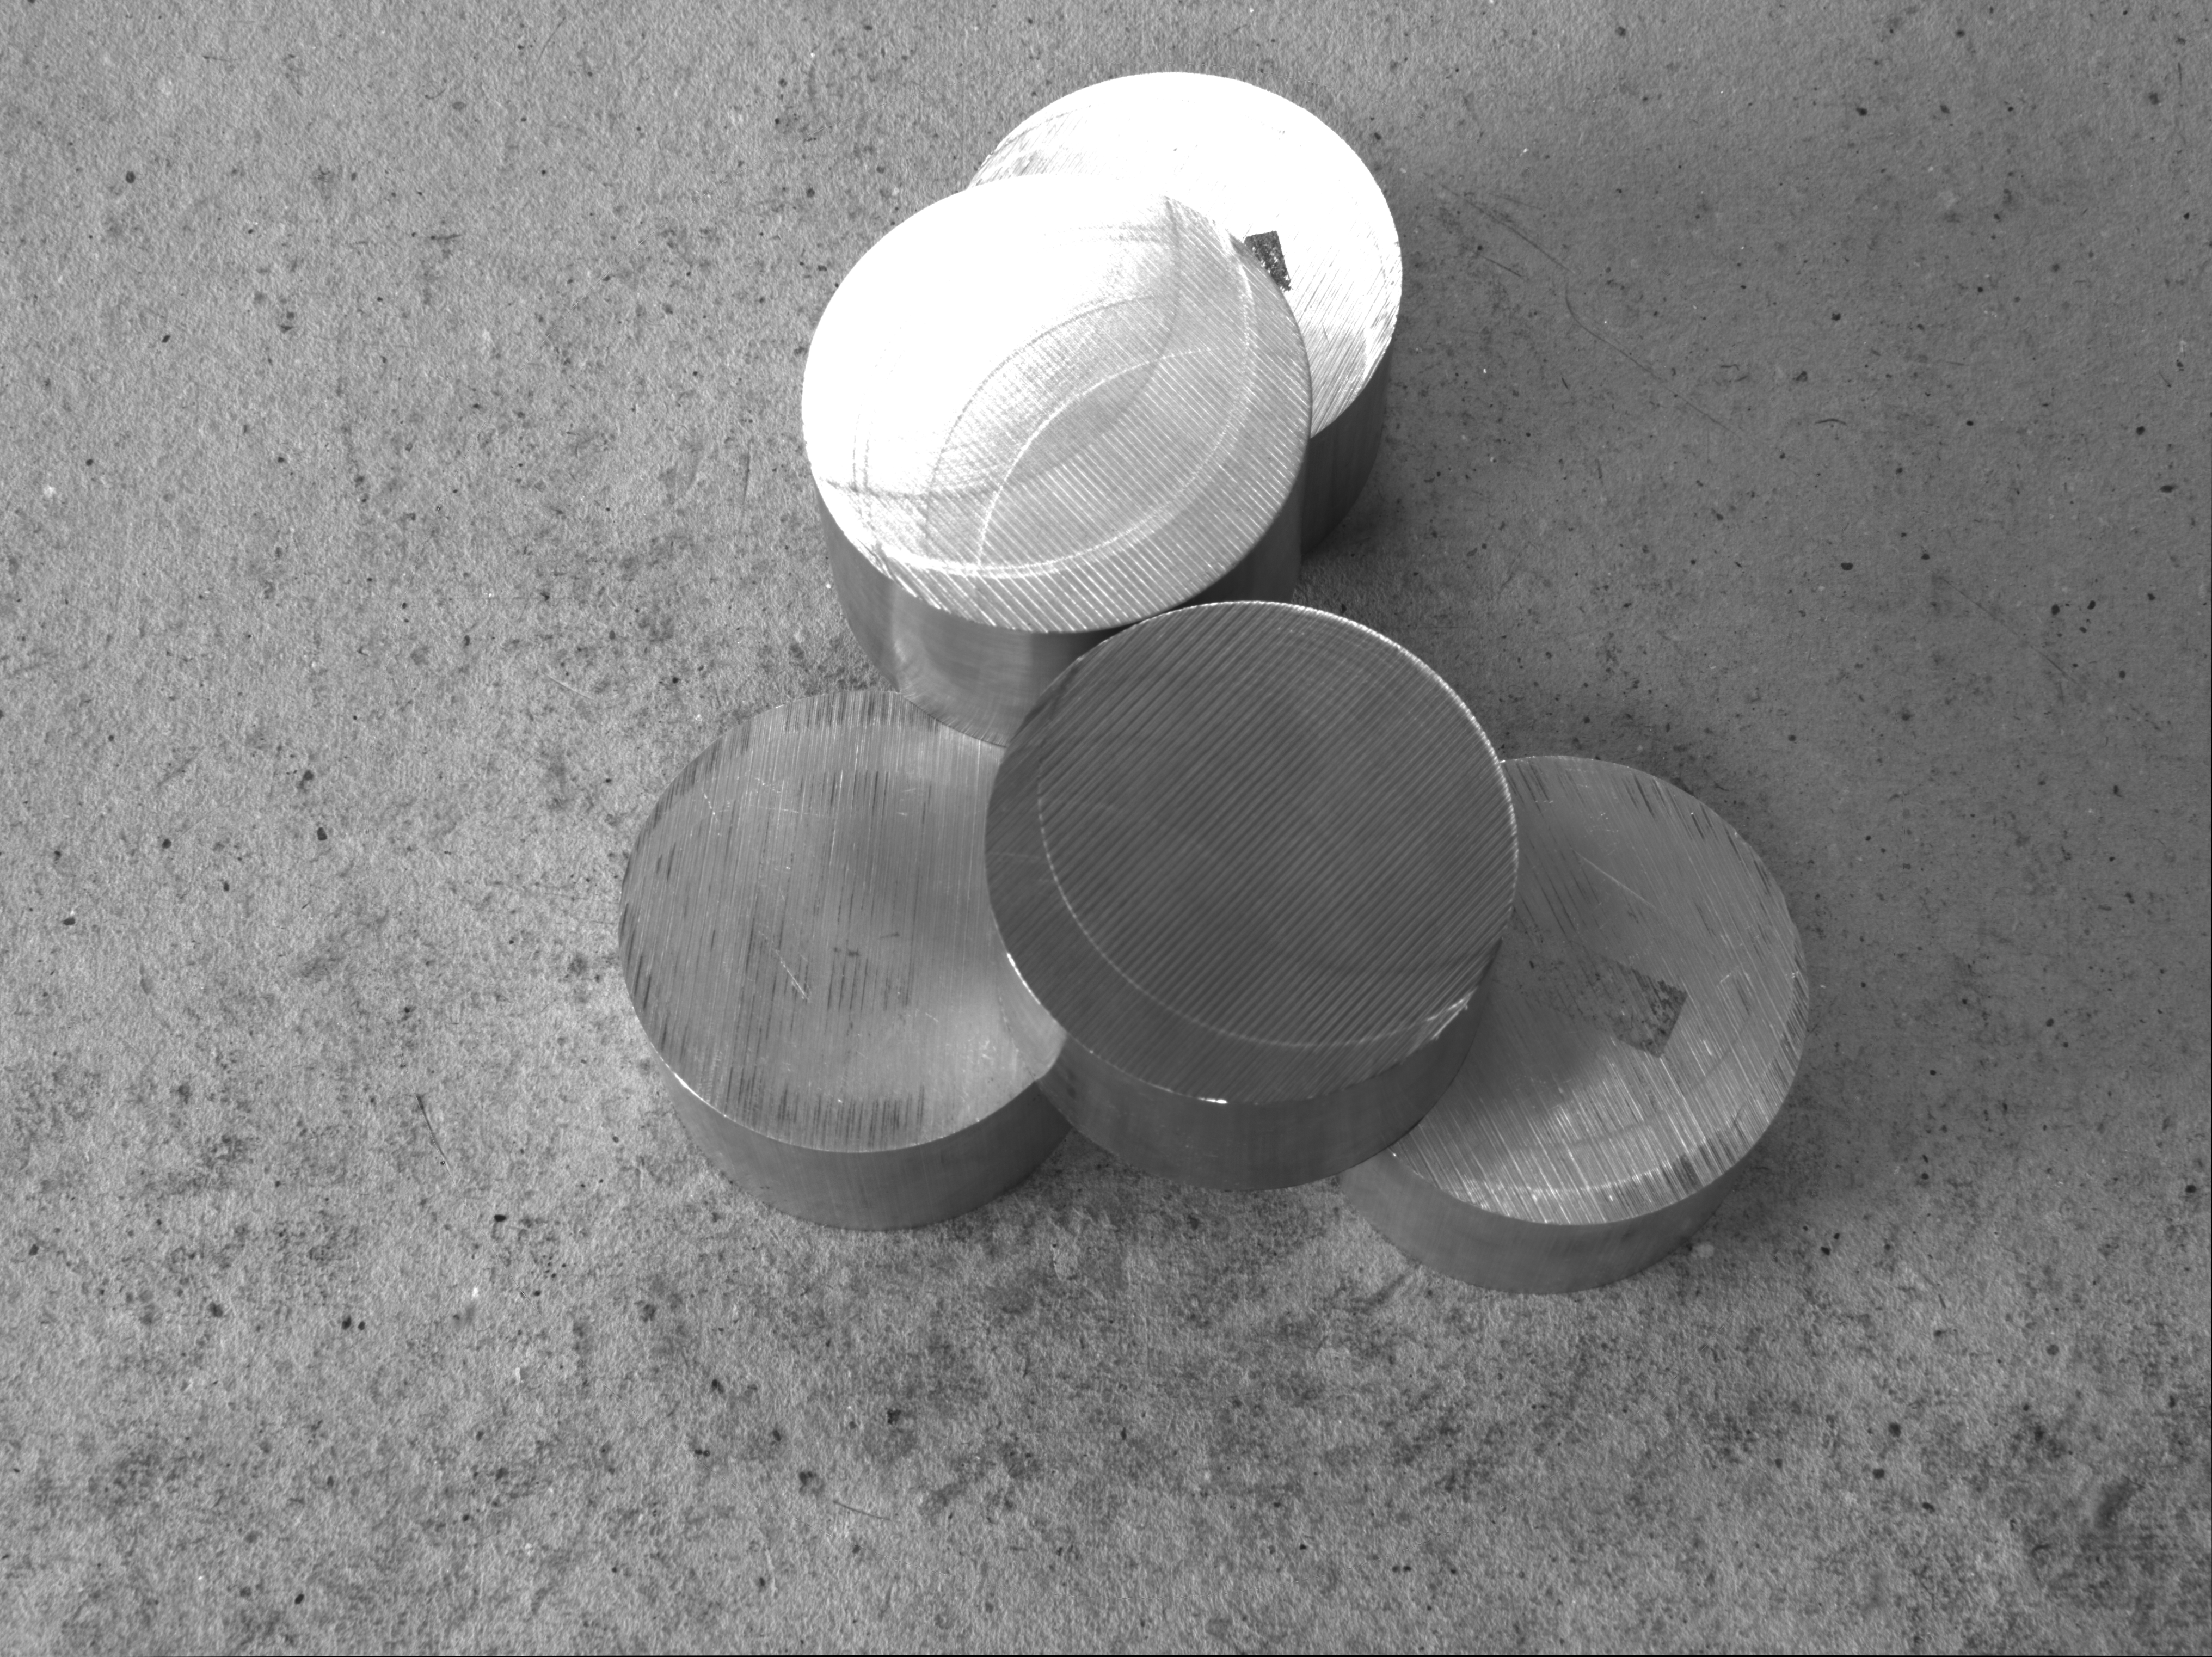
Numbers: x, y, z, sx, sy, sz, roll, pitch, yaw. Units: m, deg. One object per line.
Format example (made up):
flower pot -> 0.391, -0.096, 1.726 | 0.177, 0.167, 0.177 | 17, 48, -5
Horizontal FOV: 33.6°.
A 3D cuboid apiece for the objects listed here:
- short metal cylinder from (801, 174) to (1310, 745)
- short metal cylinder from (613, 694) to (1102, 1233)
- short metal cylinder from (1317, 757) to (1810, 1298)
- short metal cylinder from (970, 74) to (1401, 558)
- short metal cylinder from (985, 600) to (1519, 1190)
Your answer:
short metal cylinder -> -0.008, -0.059, 0.599 | 0.080, 0.050, 0.080 | 0, 70, 0
short metal cylinder -> -0.040, 0.024, 0.623 | 0.080, 0.050, 0.080 | 0, 70, 0
short metal cylinder -> 0.074, 0.034, 0.619 | 0.080, 0.050, 0.080 | 0, 70, 0
short metal cylinder -> 0.012, -0.089, 0.664 | 0.080, 0.050, 0.080 | 0, 70, 0
short metal cylinder -> 0.022, 0.011, 0.573 | 0.080, 0.050, 0.080 | 0, 70, 0
